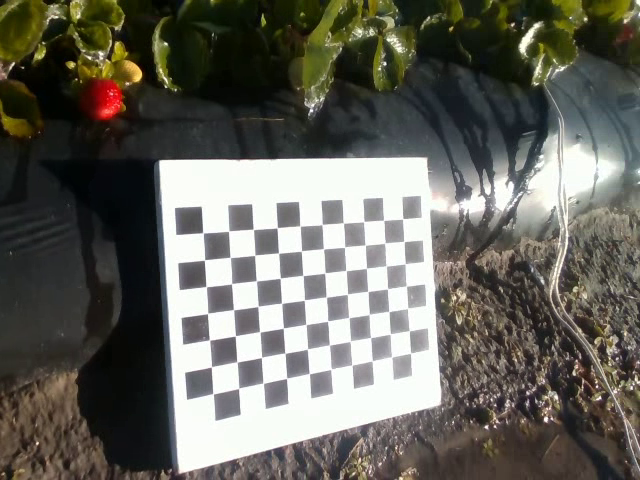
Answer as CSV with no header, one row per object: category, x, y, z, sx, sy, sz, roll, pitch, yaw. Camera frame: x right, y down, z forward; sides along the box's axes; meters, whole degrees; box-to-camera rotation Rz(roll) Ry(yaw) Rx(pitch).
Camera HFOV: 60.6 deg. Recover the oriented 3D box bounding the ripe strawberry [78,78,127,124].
ripe strawberry,-0.145,-0.089,0.354,0.039,0.040,0.039,-14,31,-15
